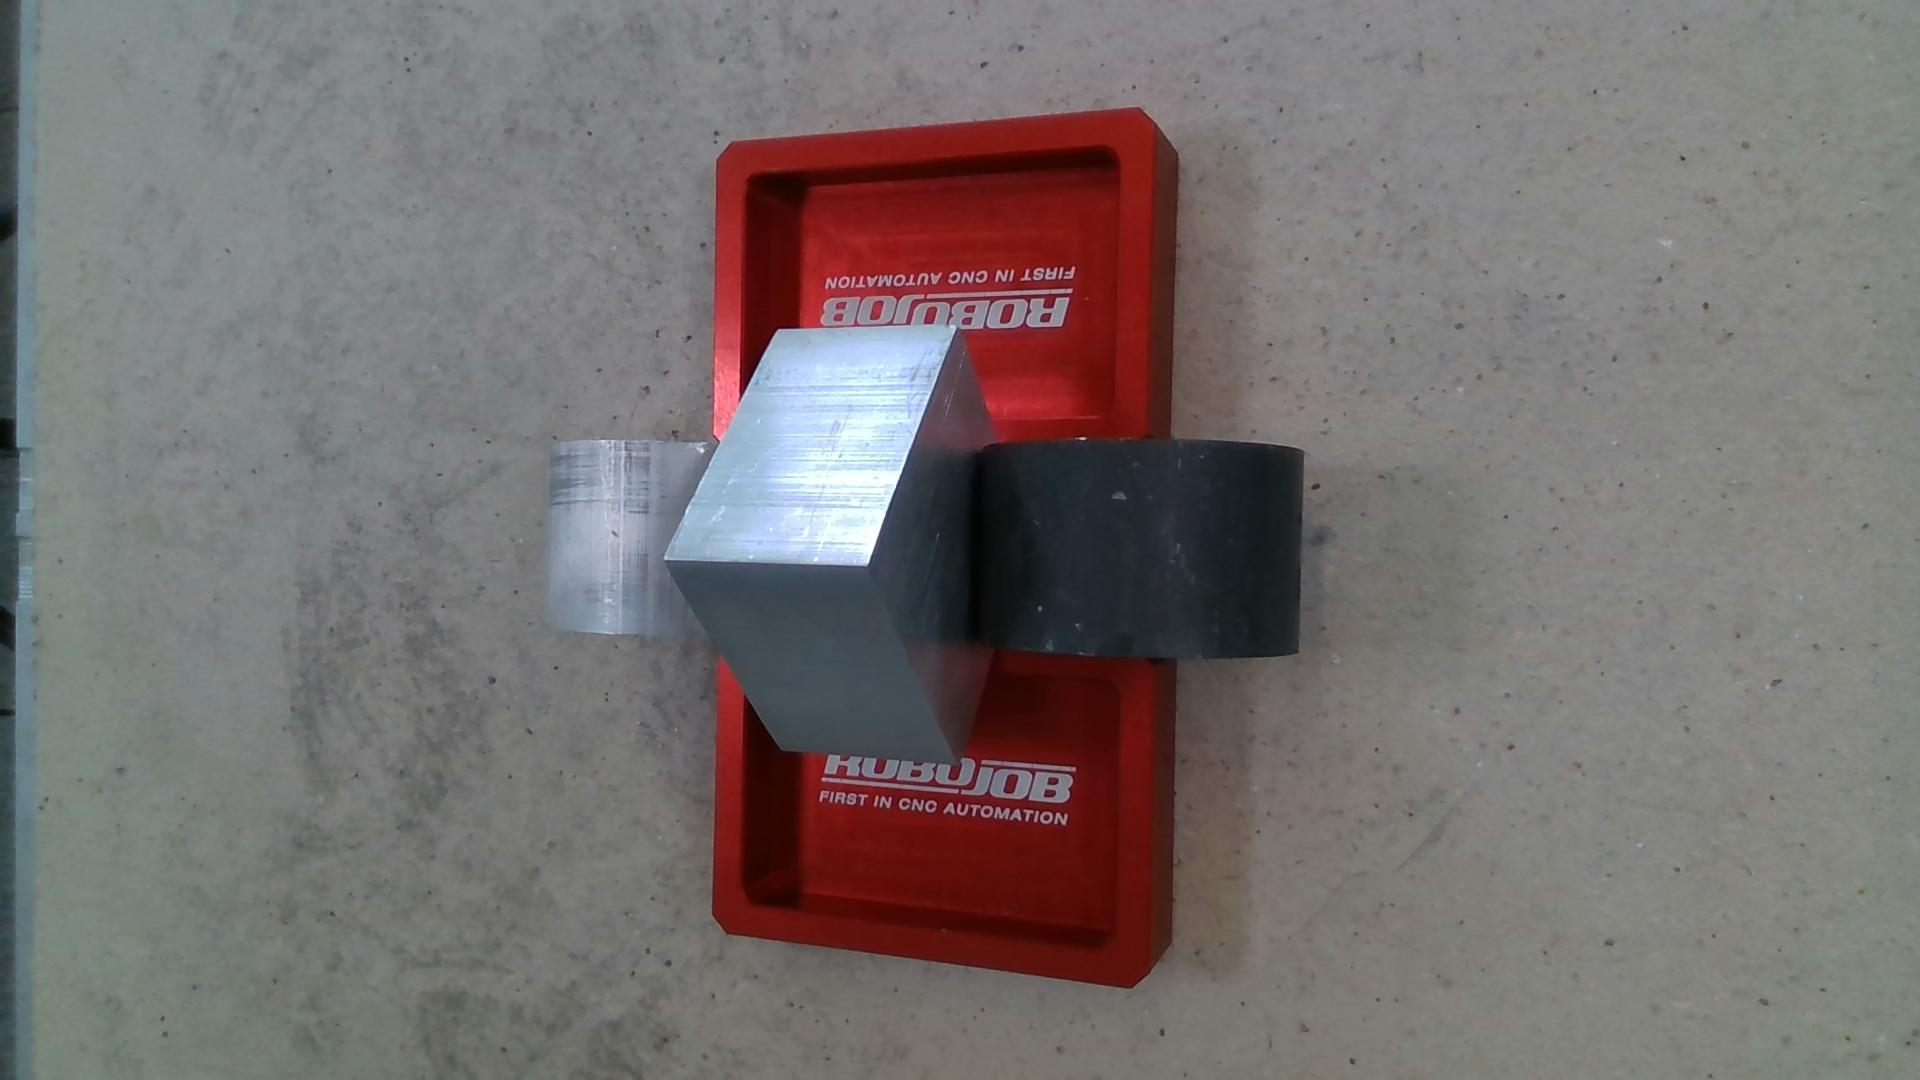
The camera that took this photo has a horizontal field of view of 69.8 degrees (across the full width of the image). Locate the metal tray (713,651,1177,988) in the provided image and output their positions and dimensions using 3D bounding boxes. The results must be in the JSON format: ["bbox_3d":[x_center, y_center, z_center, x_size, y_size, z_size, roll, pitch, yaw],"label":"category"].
[{"bbox_3d":[-0.006,0.071,0.395,0.130,0.030,0.090,2,91,20],"label":"metal tray"}]

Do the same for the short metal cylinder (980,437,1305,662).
[{"bbox_3d":[0.045,0.002,0.348,0.080,0.080,0.050,2,91,20],"label":"short metal cylinder"}]

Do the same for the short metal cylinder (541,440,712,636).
[{"bbox_3d":[-0.078,-0.001,0.393,0.080,0.080,0.050,2,91,20],"label":"short metal cylinder"}]

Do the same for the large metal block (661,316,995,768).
[{"bbox_3d":[-0.023,0.001,0.352,0.050,0.080,0.080,2,51,21],"label":"large metal block"}]

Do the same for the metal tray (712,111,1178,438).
[{"bbox_3d":[-0.006,-0.068,0.394,0.130,0.030,0.090,2,91,20],"label":"metal tray"}]
